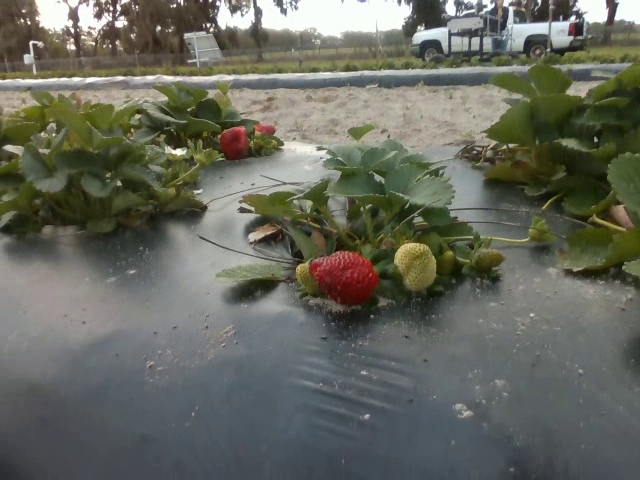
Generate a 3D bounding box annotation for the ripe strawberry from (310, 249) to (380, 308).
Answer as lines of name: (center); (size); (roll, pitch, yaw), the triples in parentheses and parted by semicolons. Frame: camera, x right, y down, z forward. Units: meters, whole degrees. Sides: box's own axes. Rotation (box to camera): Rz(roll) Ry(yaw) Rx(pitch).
ripe strawberry: (0.013, 0.027, 0.408); (0.046, 0.046, 0.059); (0, -9, 36)
